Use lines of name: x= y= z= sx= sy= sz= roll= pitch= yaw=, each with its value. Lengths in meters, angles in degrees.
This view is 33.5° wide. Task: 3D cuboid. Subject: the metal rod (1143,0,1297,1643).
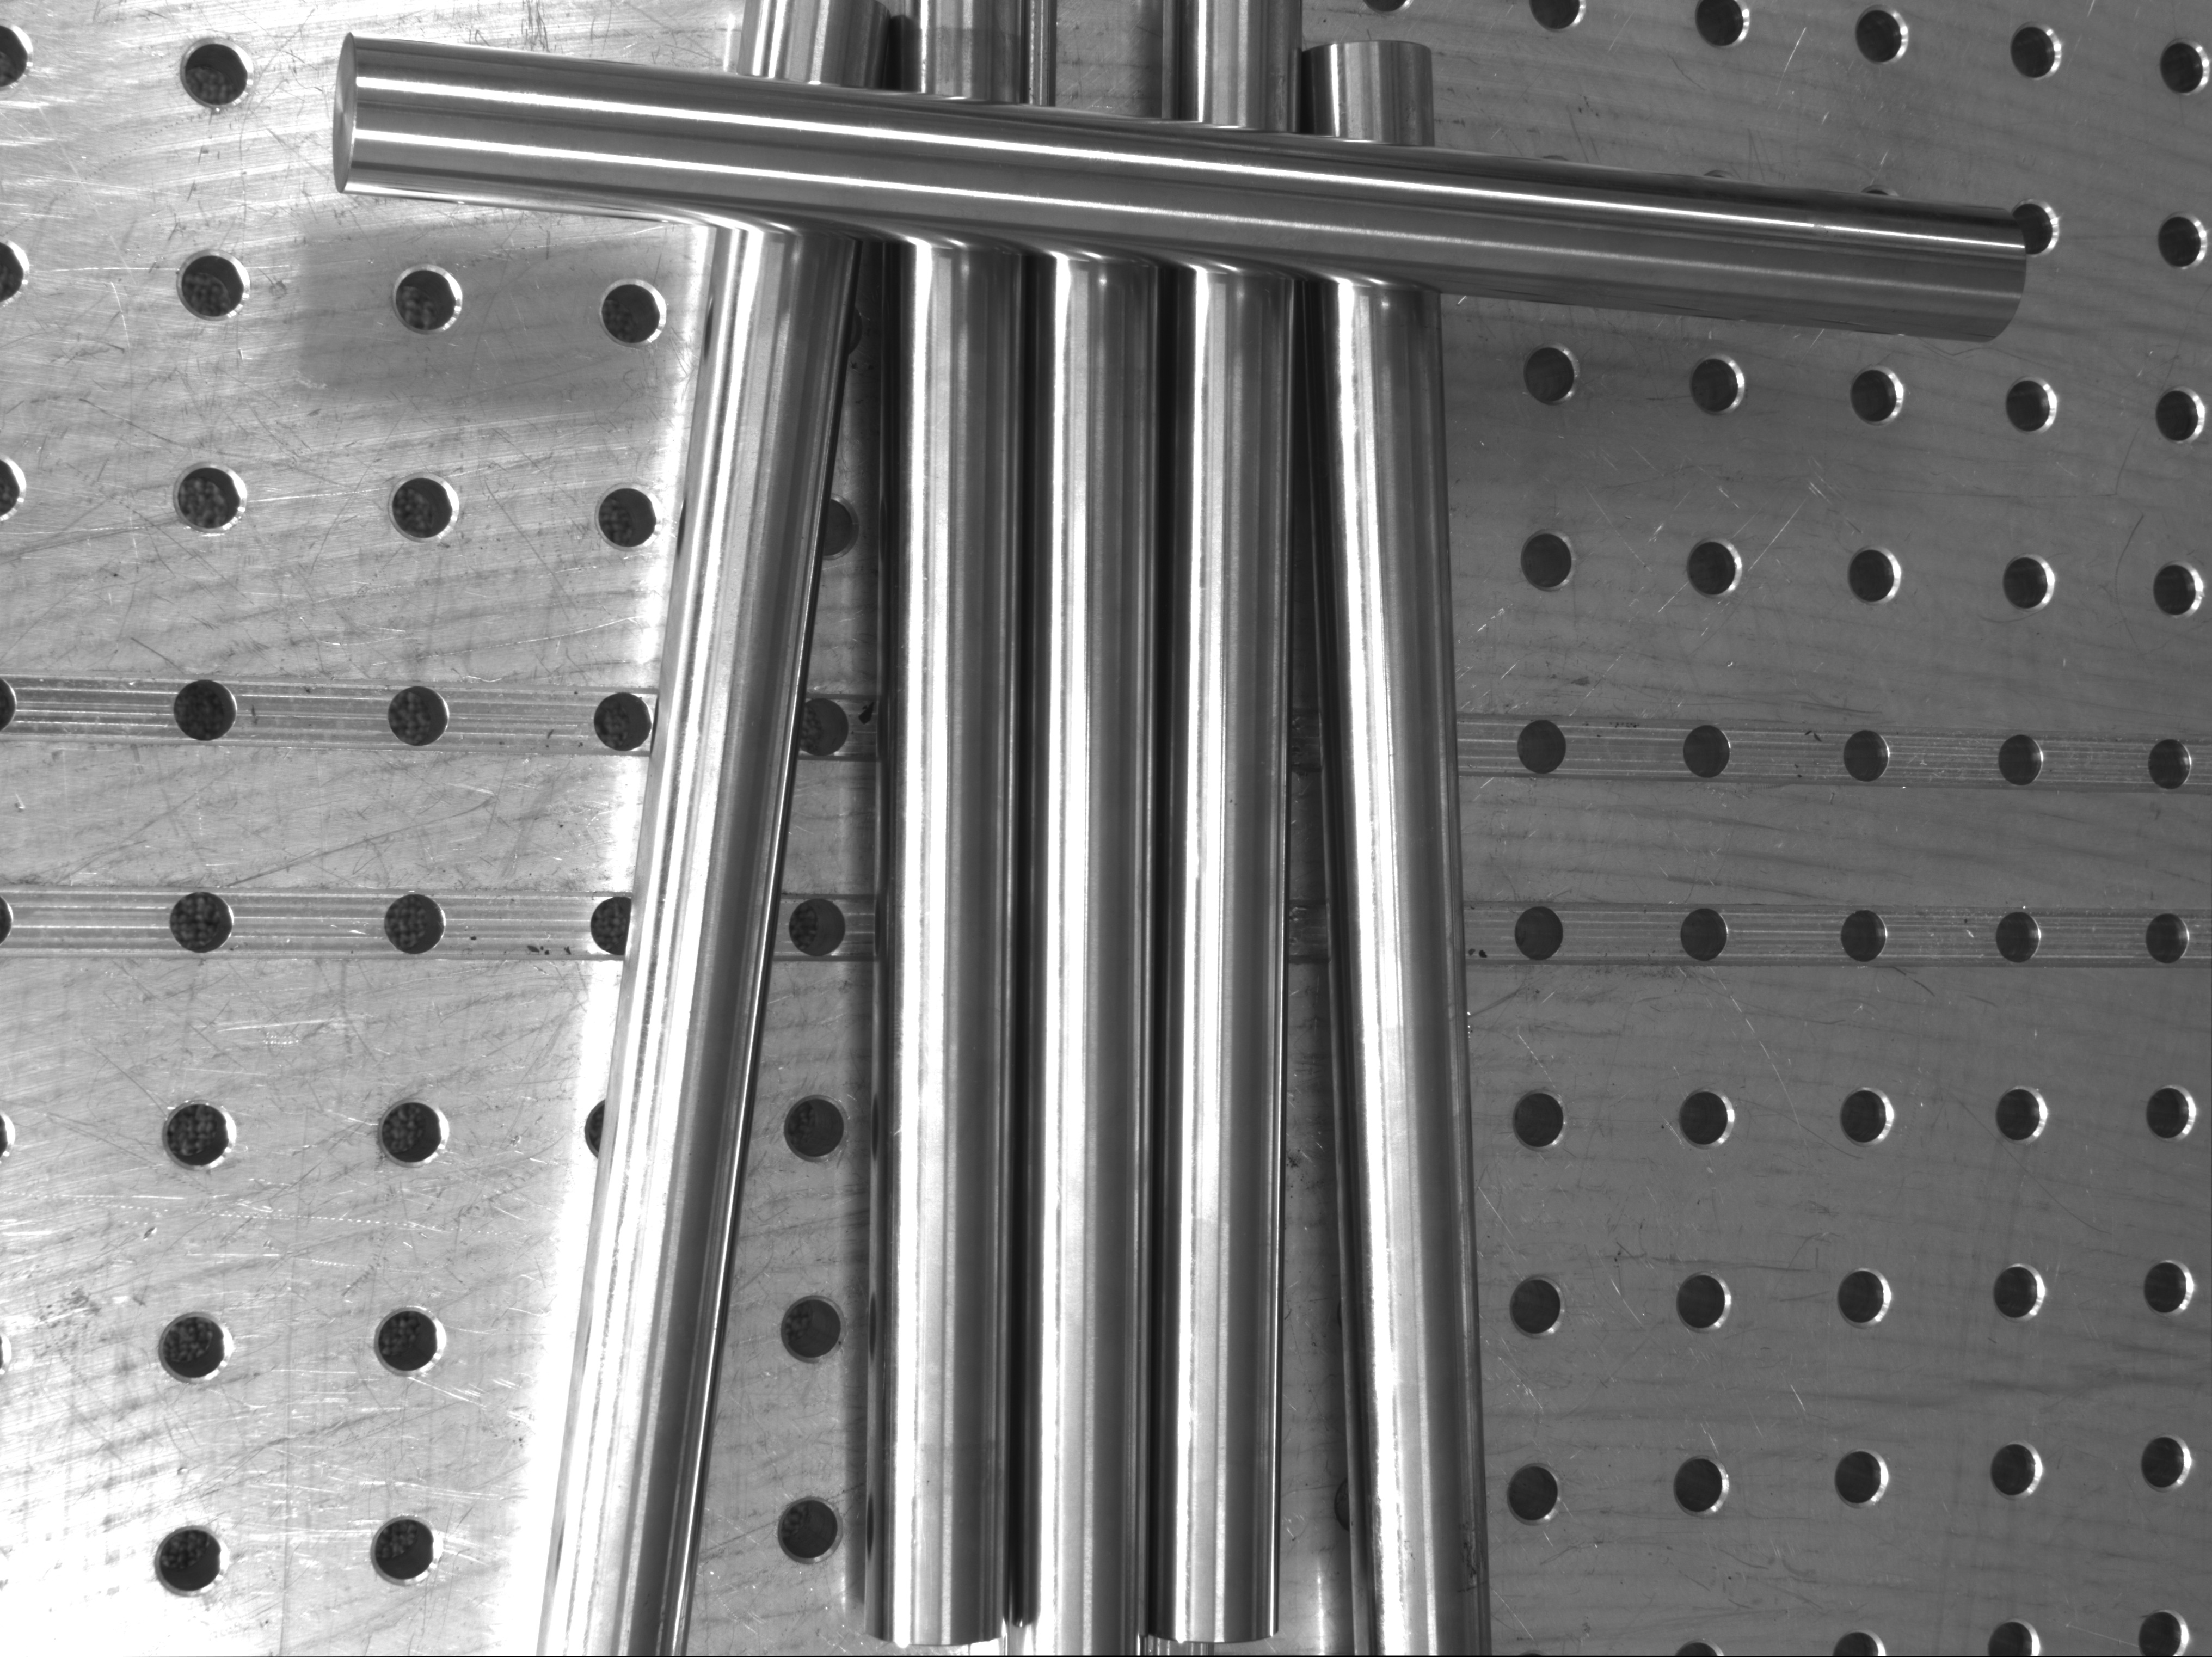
metal rod: x=0.020 y=-0.008 z=0.654 sx=0.025 sy=0.025 sz=0.300 roll=1 pitch=90 yaw=-20

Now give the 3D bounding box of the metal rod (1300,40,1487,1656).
metal rod: x=0.051 y=0.010 z=0.665 sx=0.025 sy=0.025 sz=0.300 roll=-2 pitch=91 yaw=-20

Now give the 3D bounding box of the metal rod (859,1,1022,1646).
metal rod: x=-0.029 y=-0.011 z=0.636 sx=0.025 sy=0.025 sz=0.300 roll=1 pitch=90 yaw=-20

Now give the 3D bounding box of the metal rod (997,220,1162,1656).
metal rod: x=-0.005 y=0.045 z=0.644 sx=0.025 sy=0.025 sz=0.300 roll=1 pitch=90 yaw=-20

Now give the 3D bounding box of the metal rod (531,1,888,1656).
metal rod: x=-0.068 y=0.008 z=0.620 sx=0.025 sy=0.025 sz=0.300 roll=8 pitch=87 yaw=-20

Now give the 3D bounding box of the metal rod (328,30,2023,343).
metal rod: x=0.021 y=-0.107 z=0.627 sx=0.301 sy=0.025 sz=0.025 roll=2 pitch=89 yaw=-20
